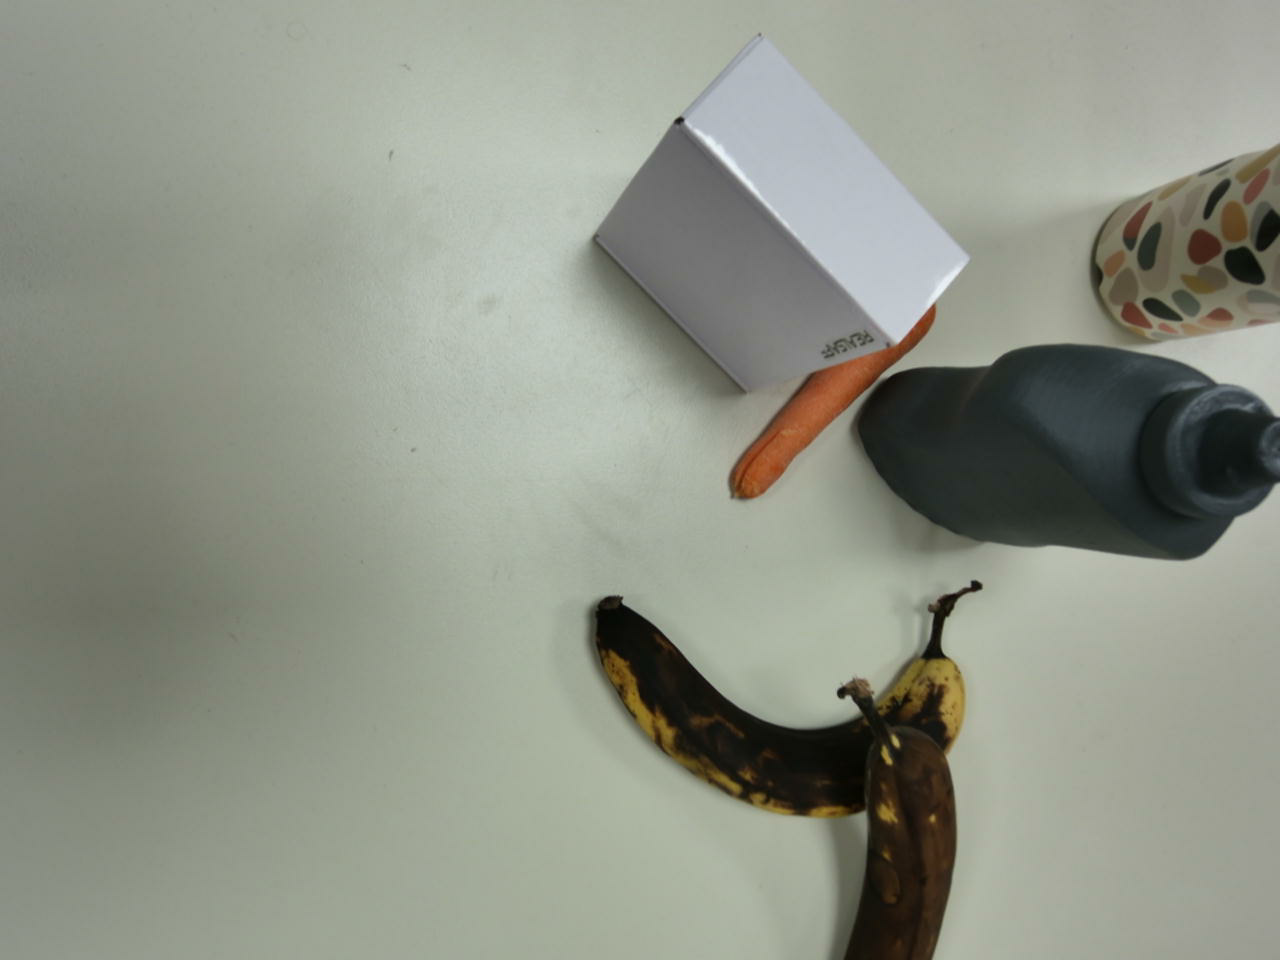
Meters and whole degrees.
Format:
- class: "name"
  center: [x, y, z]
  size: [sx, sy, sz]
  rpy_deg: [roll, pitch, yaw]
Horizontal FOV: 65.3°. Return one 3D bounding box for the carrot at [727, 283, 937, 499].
- class: "carrot"
  center: [0.089, -0.042, 0.467]
  size: [0.030, 0.032, 0.136]
  rpy_deg: [45, 81, -9]
